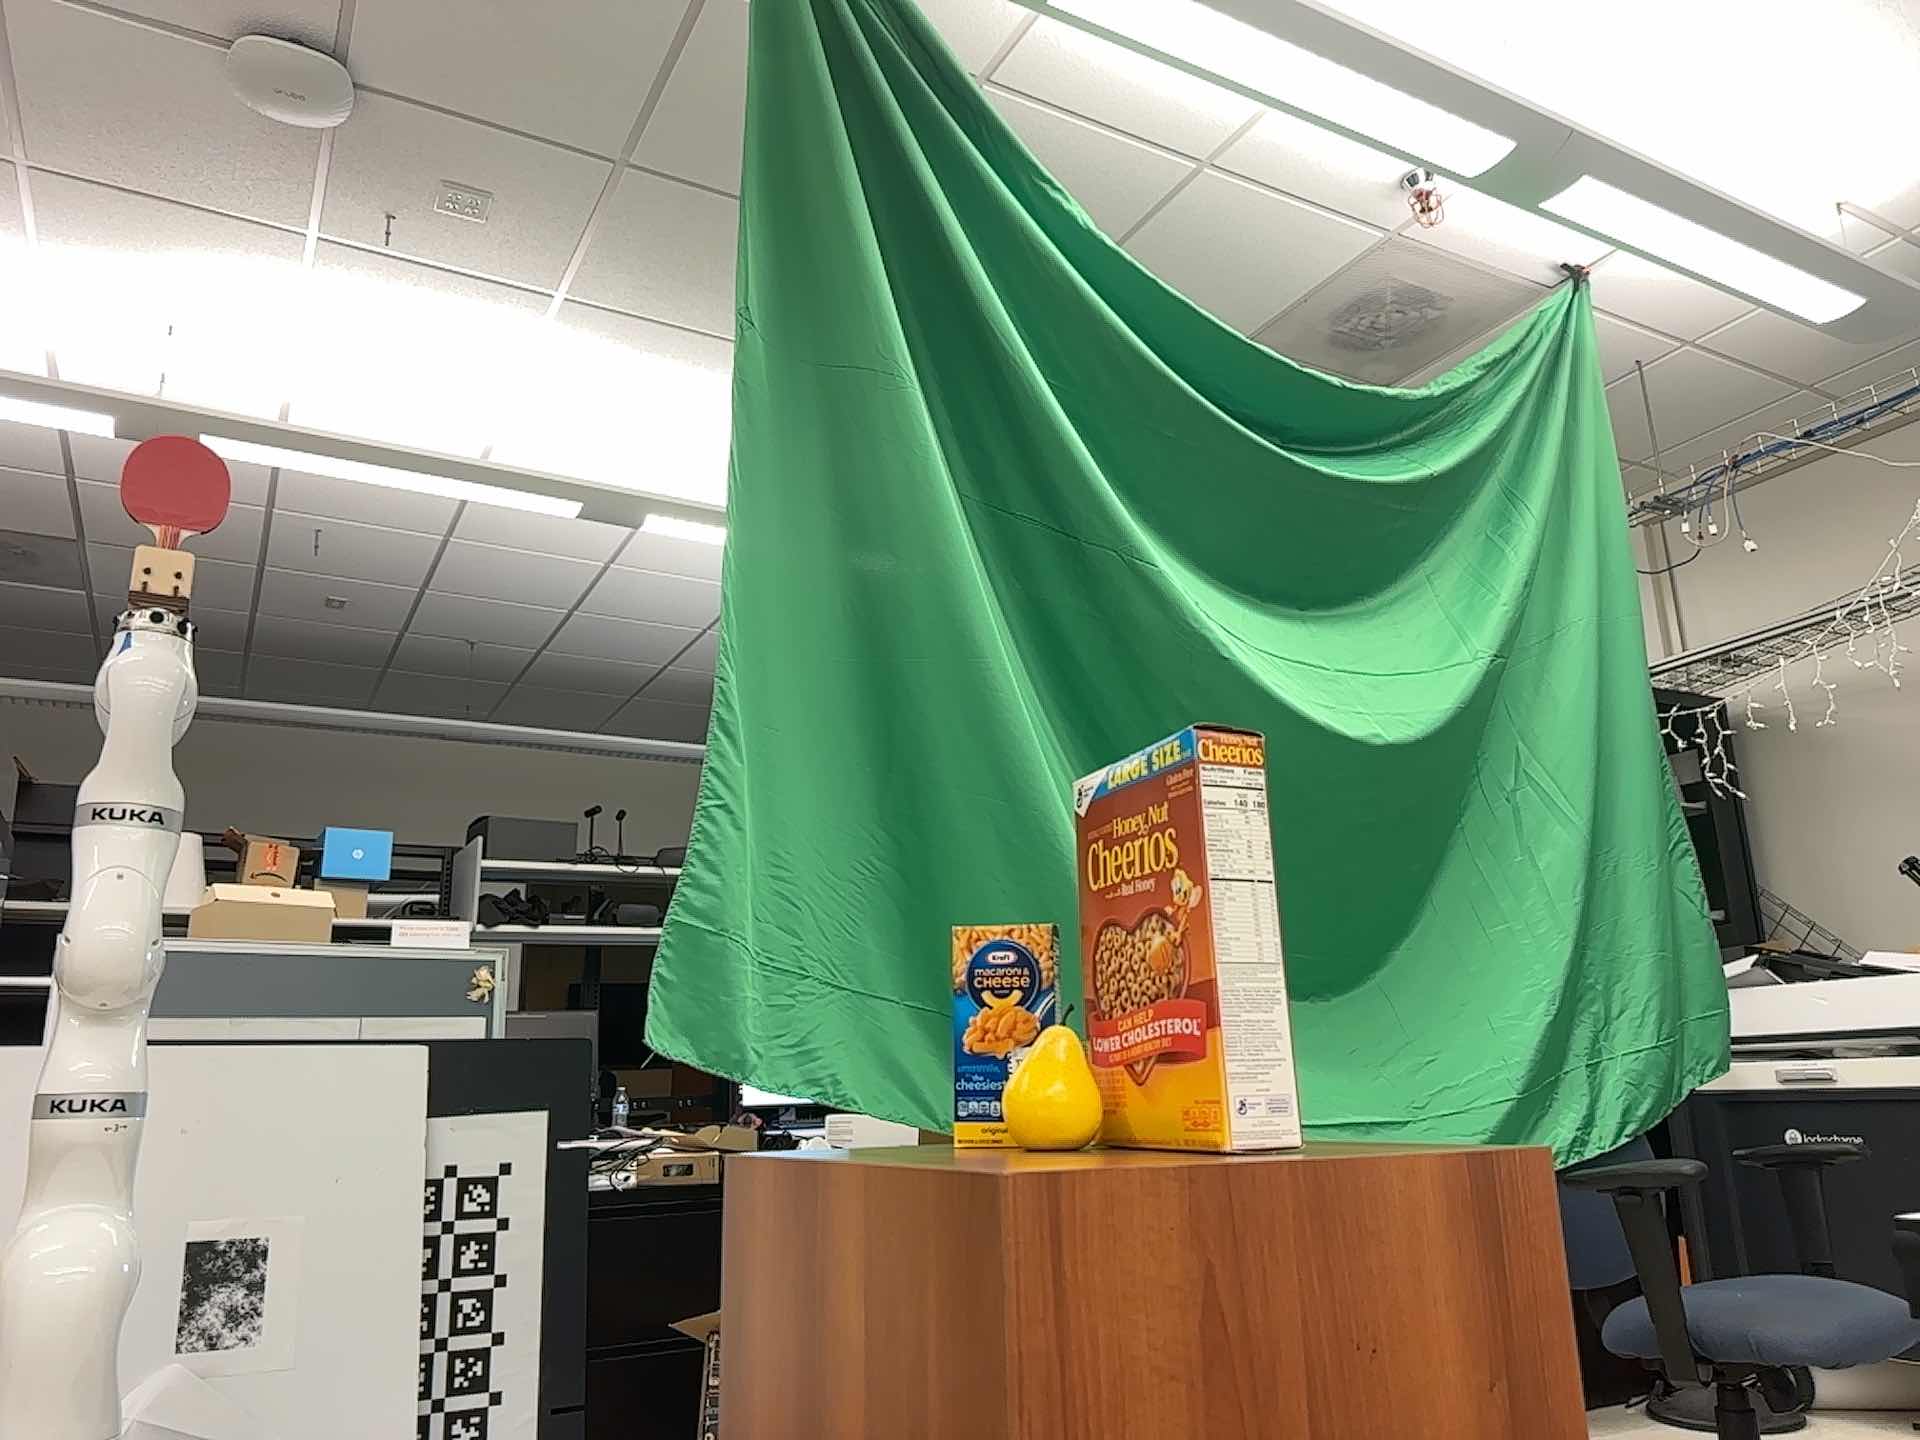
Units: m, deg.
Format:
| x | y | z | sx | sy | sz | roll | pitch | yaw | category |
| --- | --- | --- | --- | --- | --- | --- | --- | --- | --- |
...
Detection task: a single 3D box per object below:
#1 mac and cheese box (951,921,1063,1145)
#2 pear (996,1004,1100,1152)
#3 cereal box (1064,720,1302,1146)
| x | y | z | sx | sy | sz | roll | pitch | yaw | category |
| --- | --- | --- | --- | --- | --- | --- | --- | --- | --- |
| 0.041 | 0.267 | 1.155 | 0.088 | 0.181 | 0.035 | -6 | -14 | 16 | mac and cheese box |
| 0.070 | 0.278 | 1.054 | 0.080 | 0.111 | 0.080 | 2 | -14 | 1 | pear |
| 0.164 | 0.172 | 1.059 | 0.065 | 0.297 | 0.195 | 3 | -15 | -23 | cereal box |
